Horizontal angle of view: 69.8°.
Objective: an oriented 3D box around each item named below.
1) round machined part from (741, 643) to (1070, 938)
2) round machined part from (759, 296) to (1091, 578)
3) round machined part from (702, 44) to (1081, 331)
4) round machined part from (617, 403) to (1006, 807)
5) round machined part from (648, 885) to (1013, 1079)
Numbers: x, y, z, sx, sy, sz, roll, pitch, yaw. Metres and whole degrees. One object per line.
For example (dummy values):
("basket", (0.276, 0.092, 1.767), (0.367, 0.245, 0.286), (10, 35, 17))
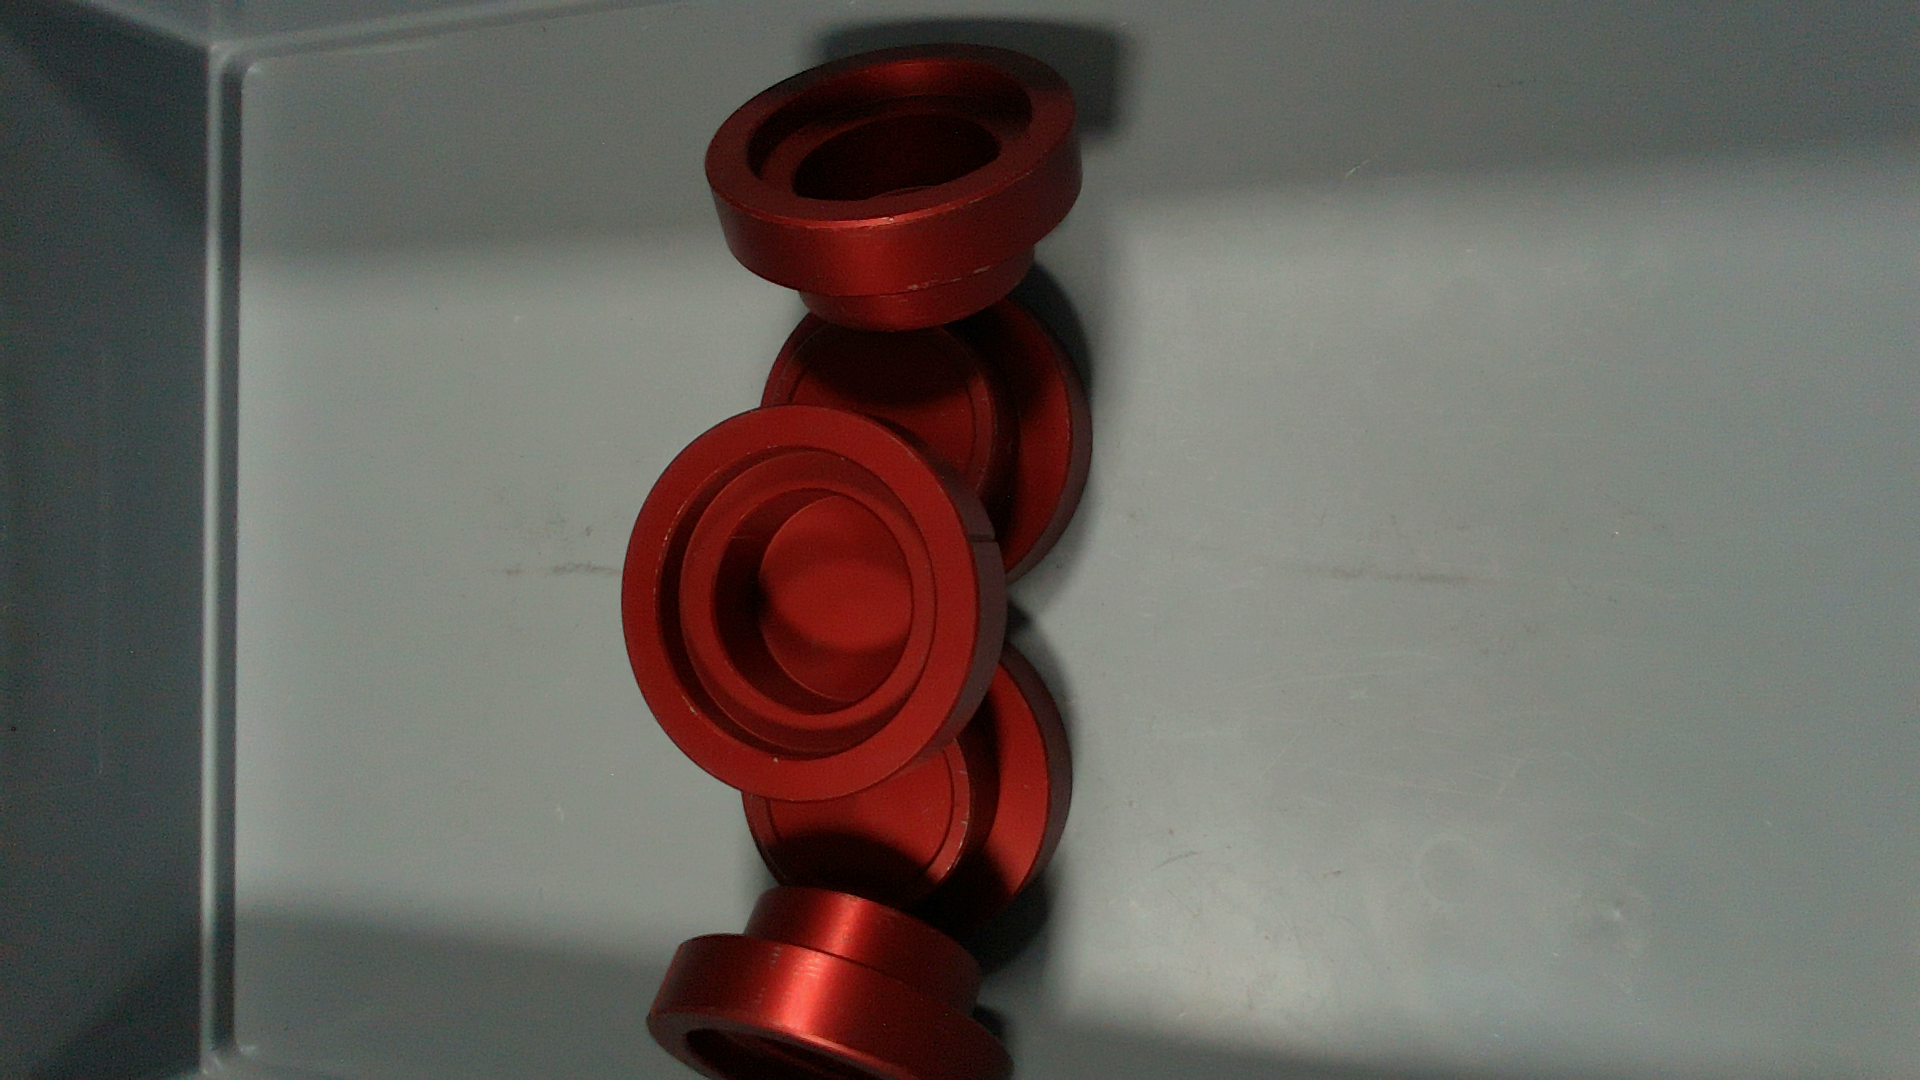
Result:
("round machined part", (-0.021, 0.068, 0.393), (0.098, 0.042, 0.098), (0, 90, 20))
("round machined part", (-0.015, -0.030, 0.391), (0.098, 0.042, 0.098), (0, 90, 20))
("round machined part", (-0.016, -0.093, 0.372), (0.098, 0.098, 0.042), (8, 135, 20))
("round machined part", (-0.034, 0.016, 0.352), (0.098, 0.042, 0.098), (0, 90, 20))
("round machined part", (-0.032, 0.129, 0.378), (0.098, 0.098, 0.042), (7, 55, 20))
